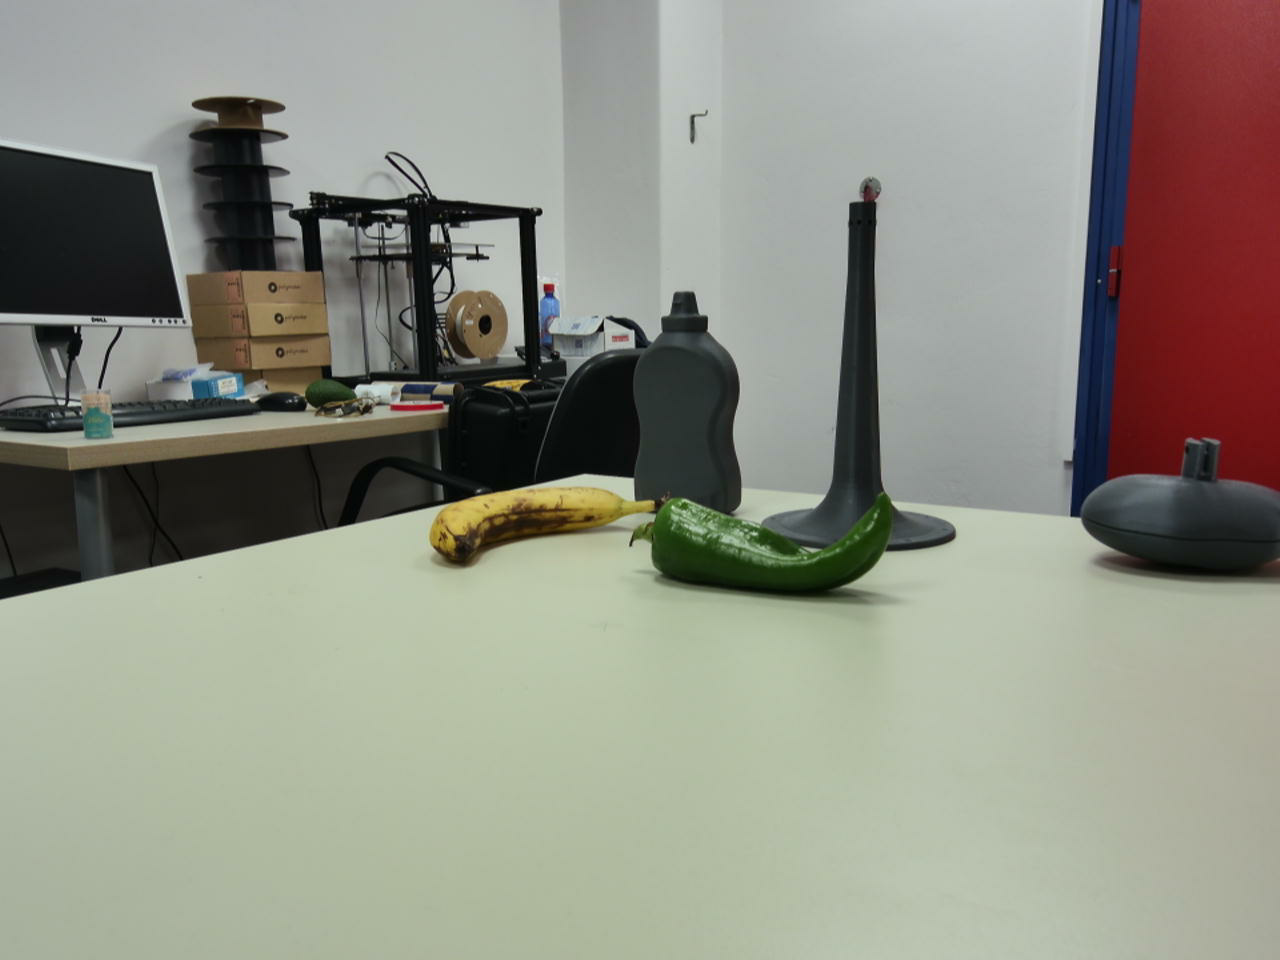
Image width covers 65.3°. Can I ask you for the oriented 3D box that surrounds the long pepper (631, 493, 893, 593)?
[{"bbox_3d":[0.069,0.035,0.627,0.175,0.065,0.058,5,8,33],"label":"long pepper"}]
